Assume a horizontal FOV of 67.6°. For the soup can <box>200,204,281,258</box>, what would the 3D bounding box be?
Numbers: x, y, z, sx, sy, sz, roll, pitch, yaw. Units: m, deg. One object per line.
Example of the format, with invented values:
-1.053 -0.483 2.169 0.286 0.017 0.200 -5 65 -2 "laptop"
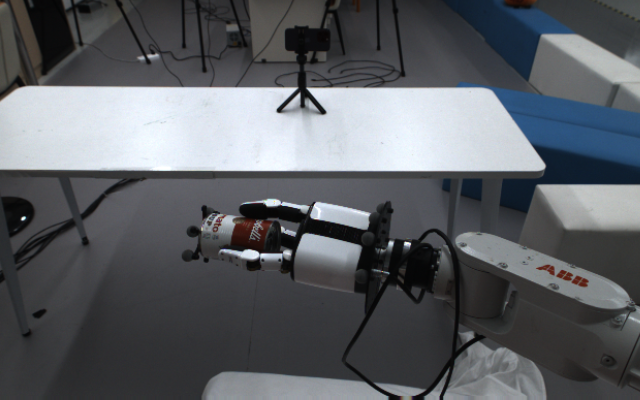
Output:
-0.112 0.058 0.694 0.101 0.067 0.067 6 35 13 "soup can"
